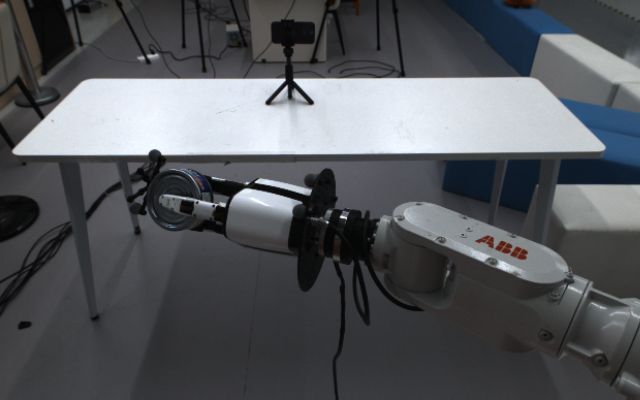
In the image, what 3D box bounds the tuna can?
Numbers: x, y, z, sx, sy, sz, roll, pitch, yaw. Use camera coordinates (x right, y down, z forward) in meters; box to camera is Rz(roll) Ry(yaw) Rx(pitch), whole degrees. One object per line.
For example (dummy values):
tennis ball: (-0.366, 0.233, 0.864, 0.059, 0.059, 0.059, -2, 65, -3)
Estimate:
tuna can: (-0.190, -0.001, 0.657, 0.085, 0.085, 0.034, 12, 6, 14)
